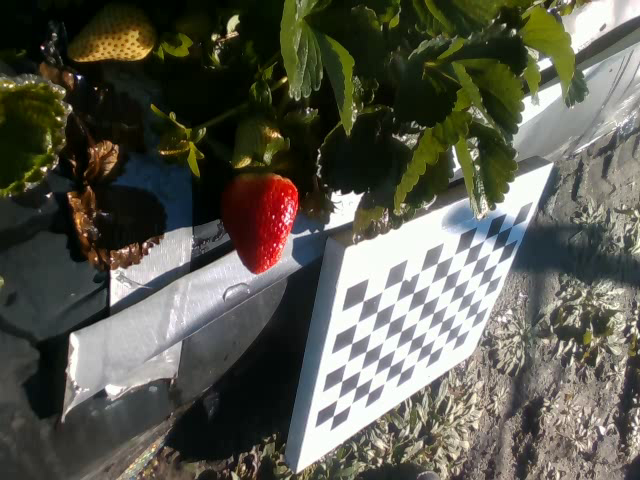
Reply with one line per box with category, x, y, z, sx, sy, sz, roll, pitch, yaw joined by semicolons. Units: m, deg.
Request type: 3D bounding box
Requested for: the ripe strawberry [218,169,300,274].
ripe strawberry;-0.035;-0.006;0.395;0.057;0.065;0.061;-13;-16;29
